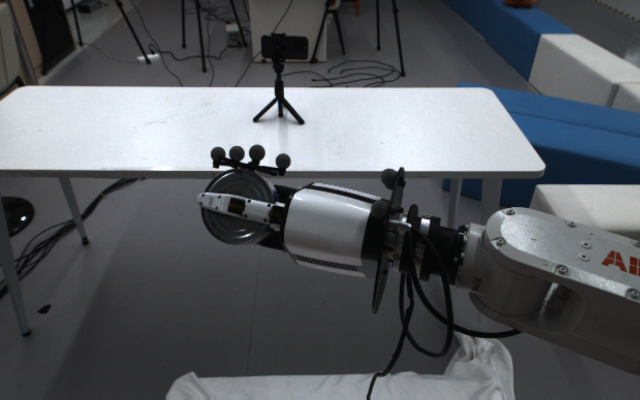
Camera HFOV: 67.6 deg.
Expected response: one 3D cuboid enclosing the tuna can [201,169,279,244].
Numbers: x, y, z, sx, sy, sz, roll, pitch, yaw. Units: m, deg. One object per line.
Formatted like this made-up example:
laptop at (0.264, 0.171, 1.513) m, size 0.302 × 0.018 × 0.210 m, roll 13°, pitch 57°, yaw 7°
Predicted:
tuna can at (-0.088, 0.008, 0.553) m, size 0.085 × 0.085 × 0.034 m, roll 11°, pitch -5°, yaw 12°
